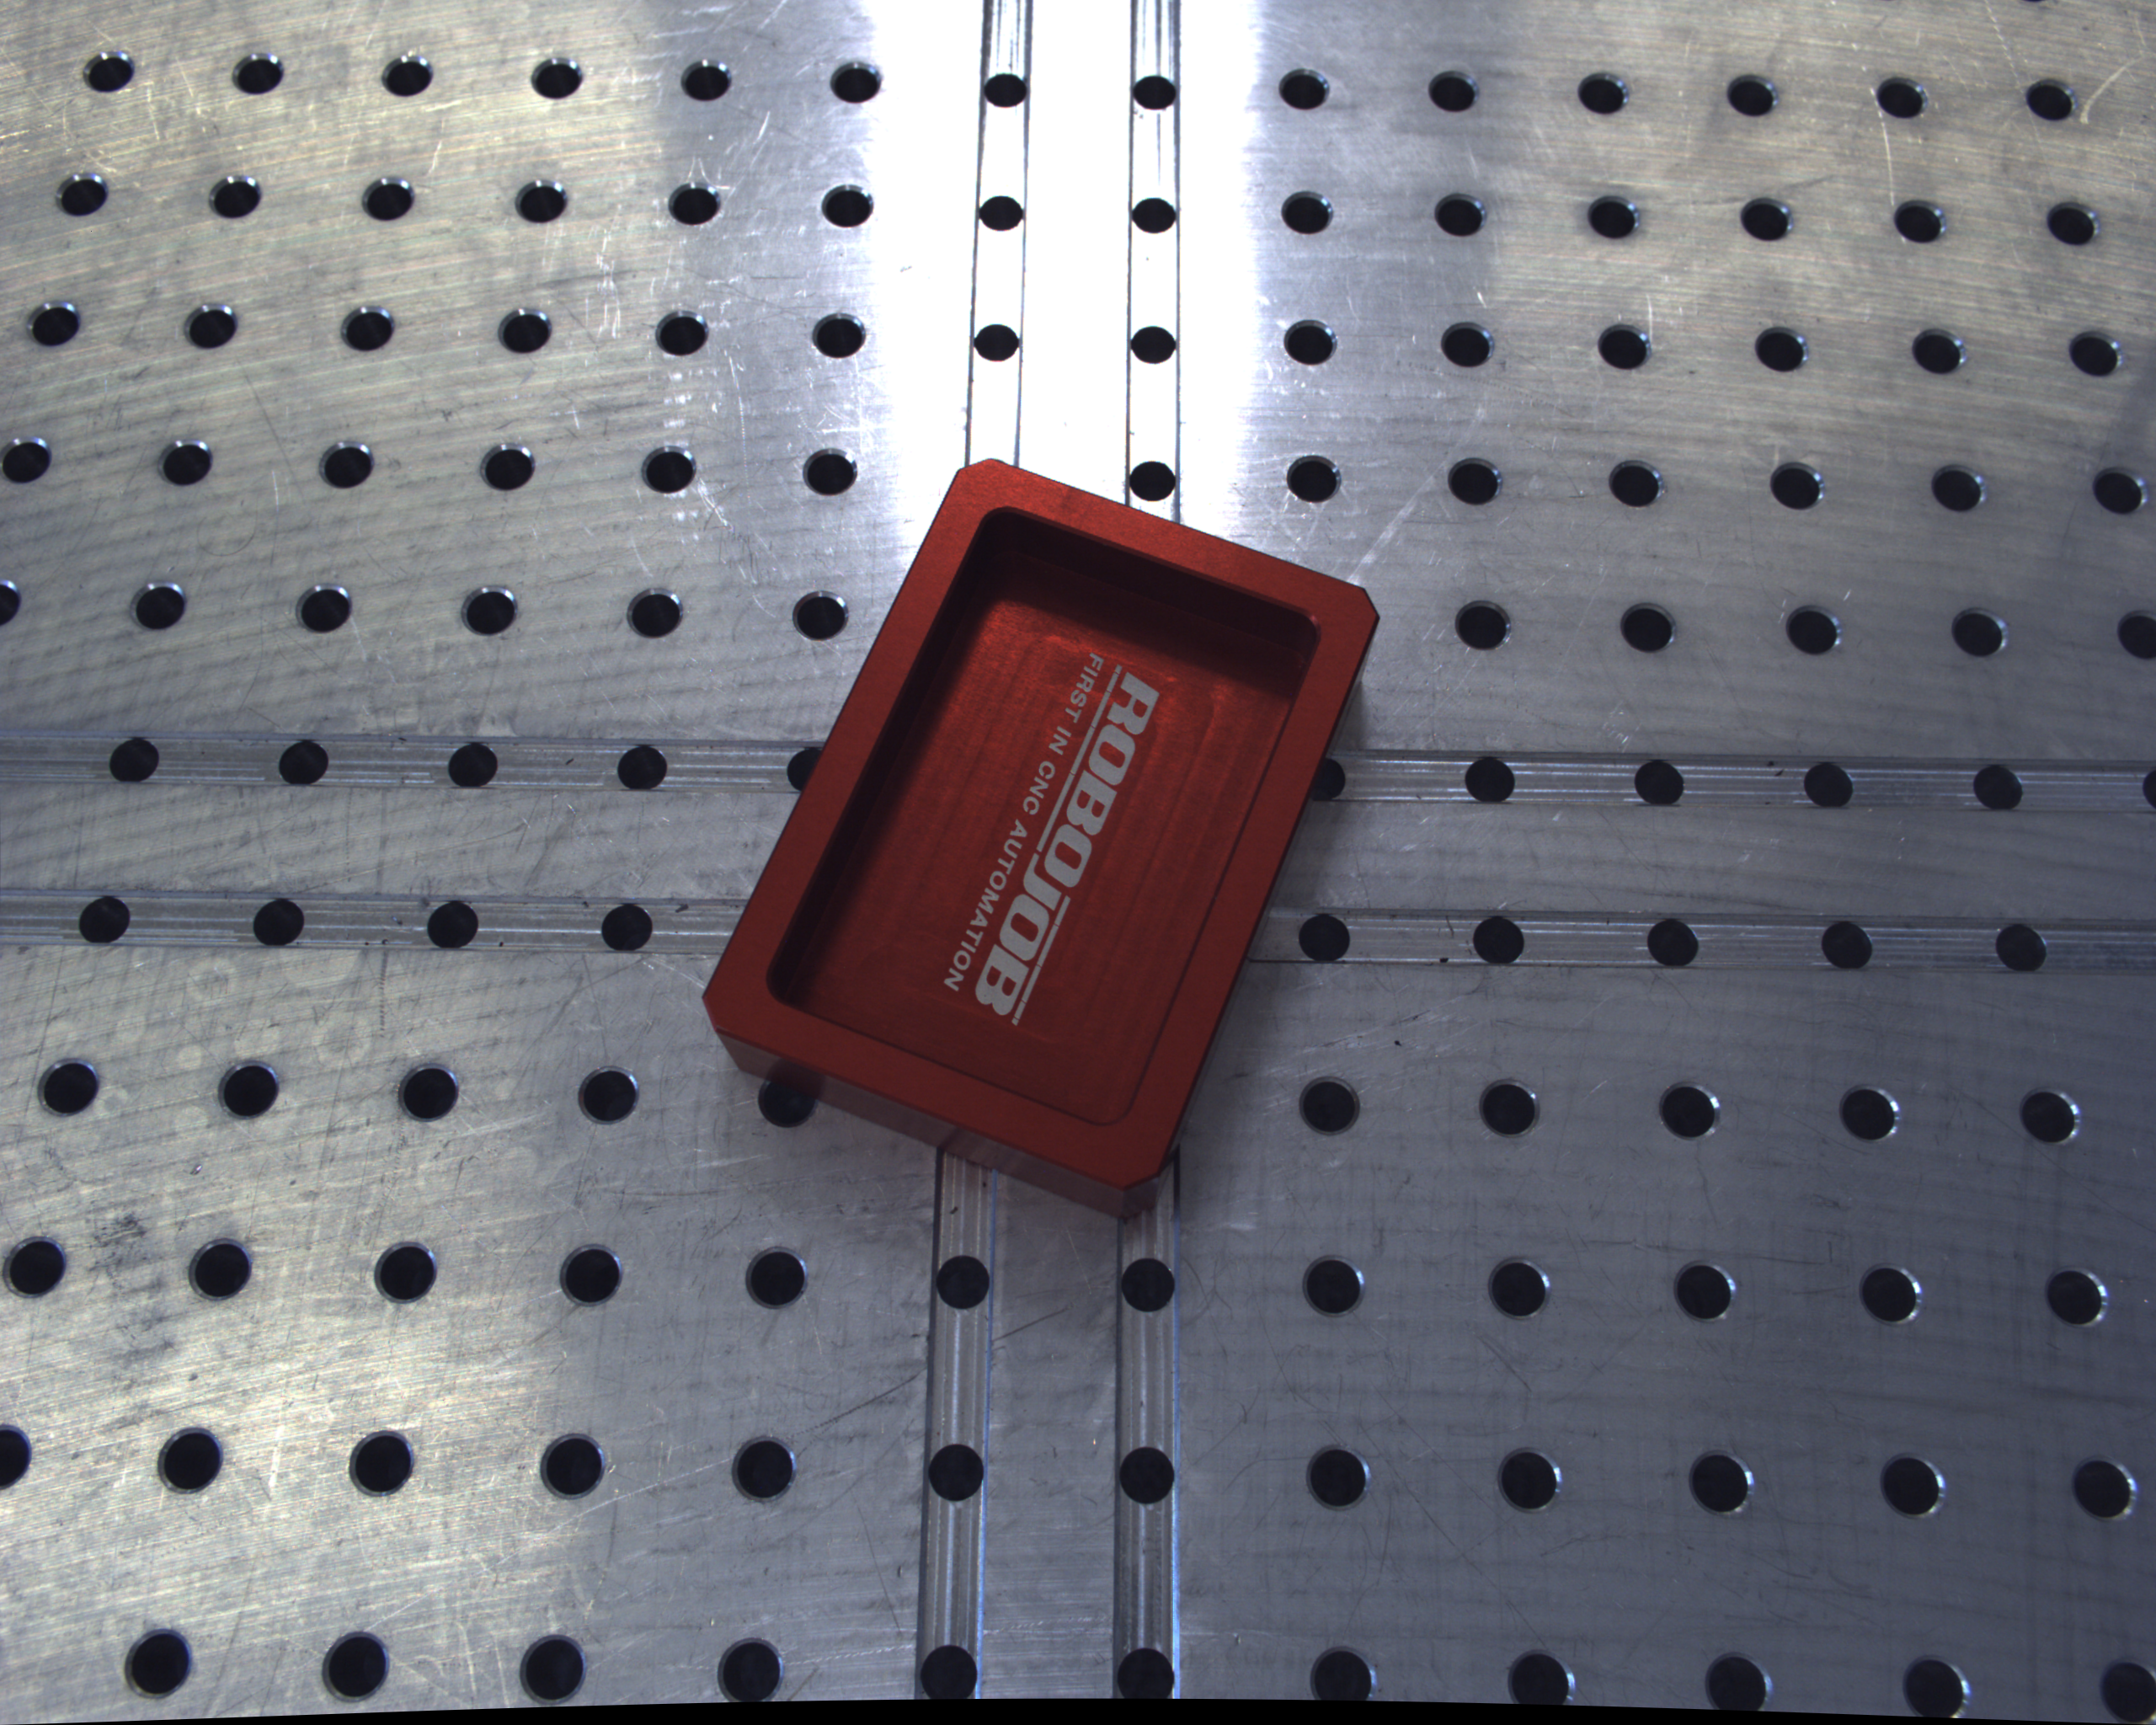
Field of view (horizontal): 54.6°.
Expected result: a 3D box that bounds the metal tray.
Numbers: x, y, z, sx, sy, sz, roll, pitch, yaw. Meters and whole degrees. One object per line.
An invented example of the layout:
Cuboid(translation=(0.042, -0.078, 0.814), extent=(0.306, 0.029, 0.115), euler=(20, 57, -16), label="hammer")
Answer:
Cuboid(translation=(-0.005, -0.007, 0.411), extent=(0.090, 0.030, 0.130), euler=(21, 71, 7), label="metal tray")
